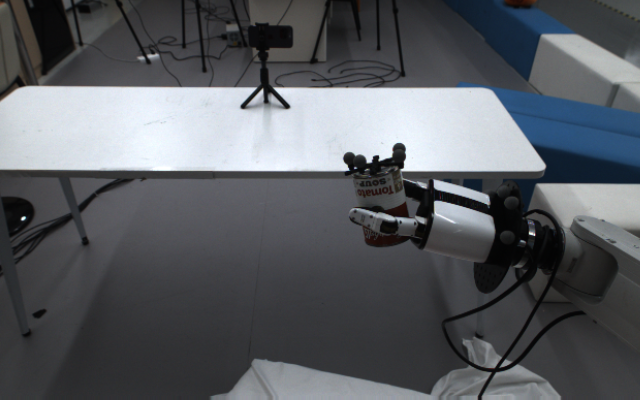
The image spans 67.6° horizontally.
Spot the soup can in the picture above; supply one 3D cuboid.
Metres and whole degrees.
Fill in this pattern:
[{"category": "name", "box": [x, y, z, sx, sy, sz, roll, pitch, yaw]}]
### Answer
[{"category": "soup can", "box": [0.087, 0.004, 0.663, 0.067, 0.101, 0.067, -12, 17, 4]}]
